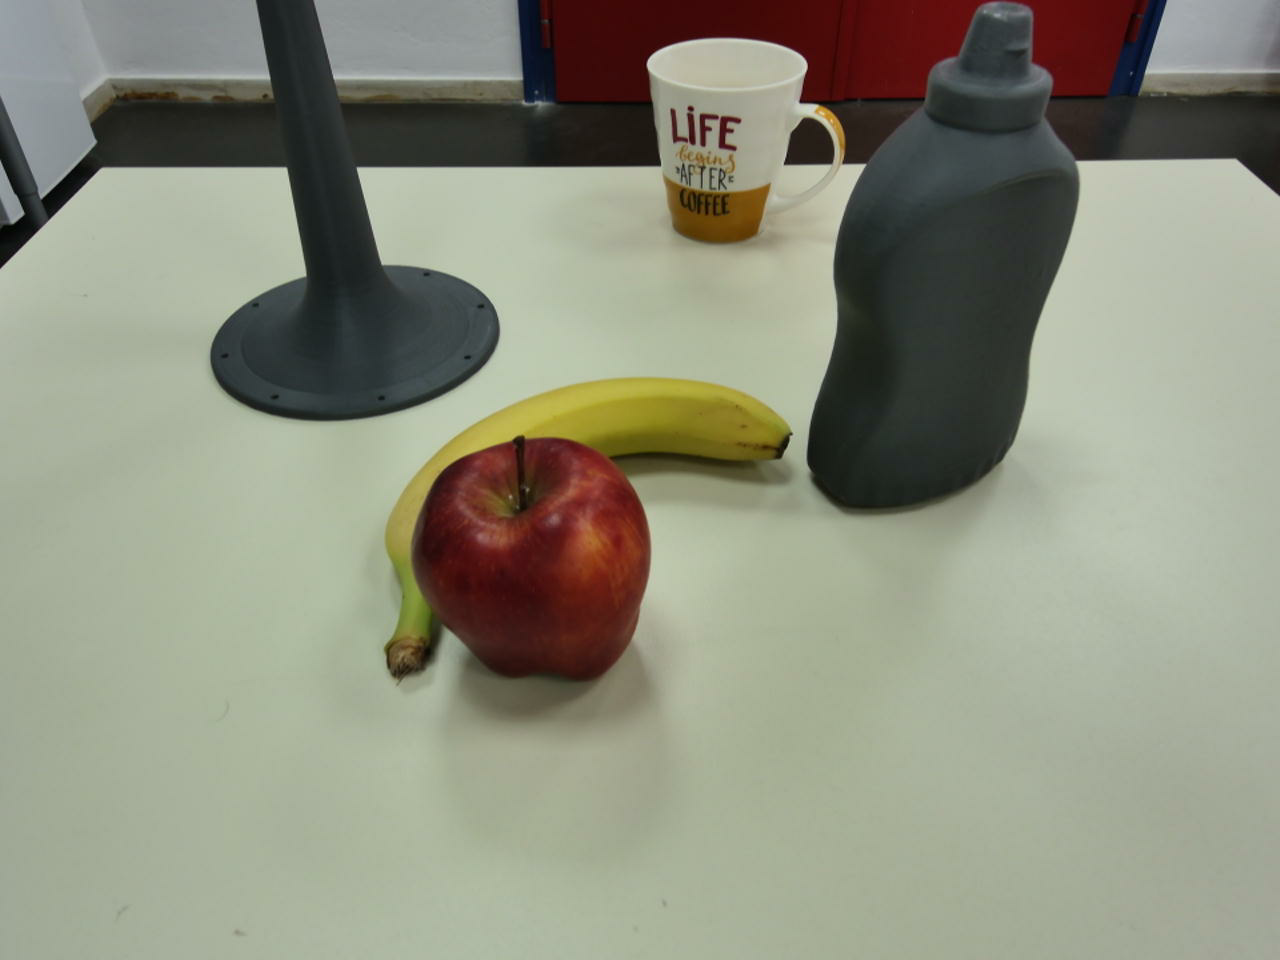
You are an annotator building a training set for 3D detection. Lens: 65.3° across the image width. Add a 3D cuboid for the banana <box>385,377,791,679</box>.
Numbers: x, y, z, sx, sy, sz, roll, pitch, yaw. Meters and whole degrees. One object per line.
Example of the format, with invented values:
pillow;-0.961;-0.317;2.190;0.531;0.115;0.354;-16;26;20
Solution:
banana;-0.035;-0.001;0.421;0.196;0.041;0.094;-25;44;-27
